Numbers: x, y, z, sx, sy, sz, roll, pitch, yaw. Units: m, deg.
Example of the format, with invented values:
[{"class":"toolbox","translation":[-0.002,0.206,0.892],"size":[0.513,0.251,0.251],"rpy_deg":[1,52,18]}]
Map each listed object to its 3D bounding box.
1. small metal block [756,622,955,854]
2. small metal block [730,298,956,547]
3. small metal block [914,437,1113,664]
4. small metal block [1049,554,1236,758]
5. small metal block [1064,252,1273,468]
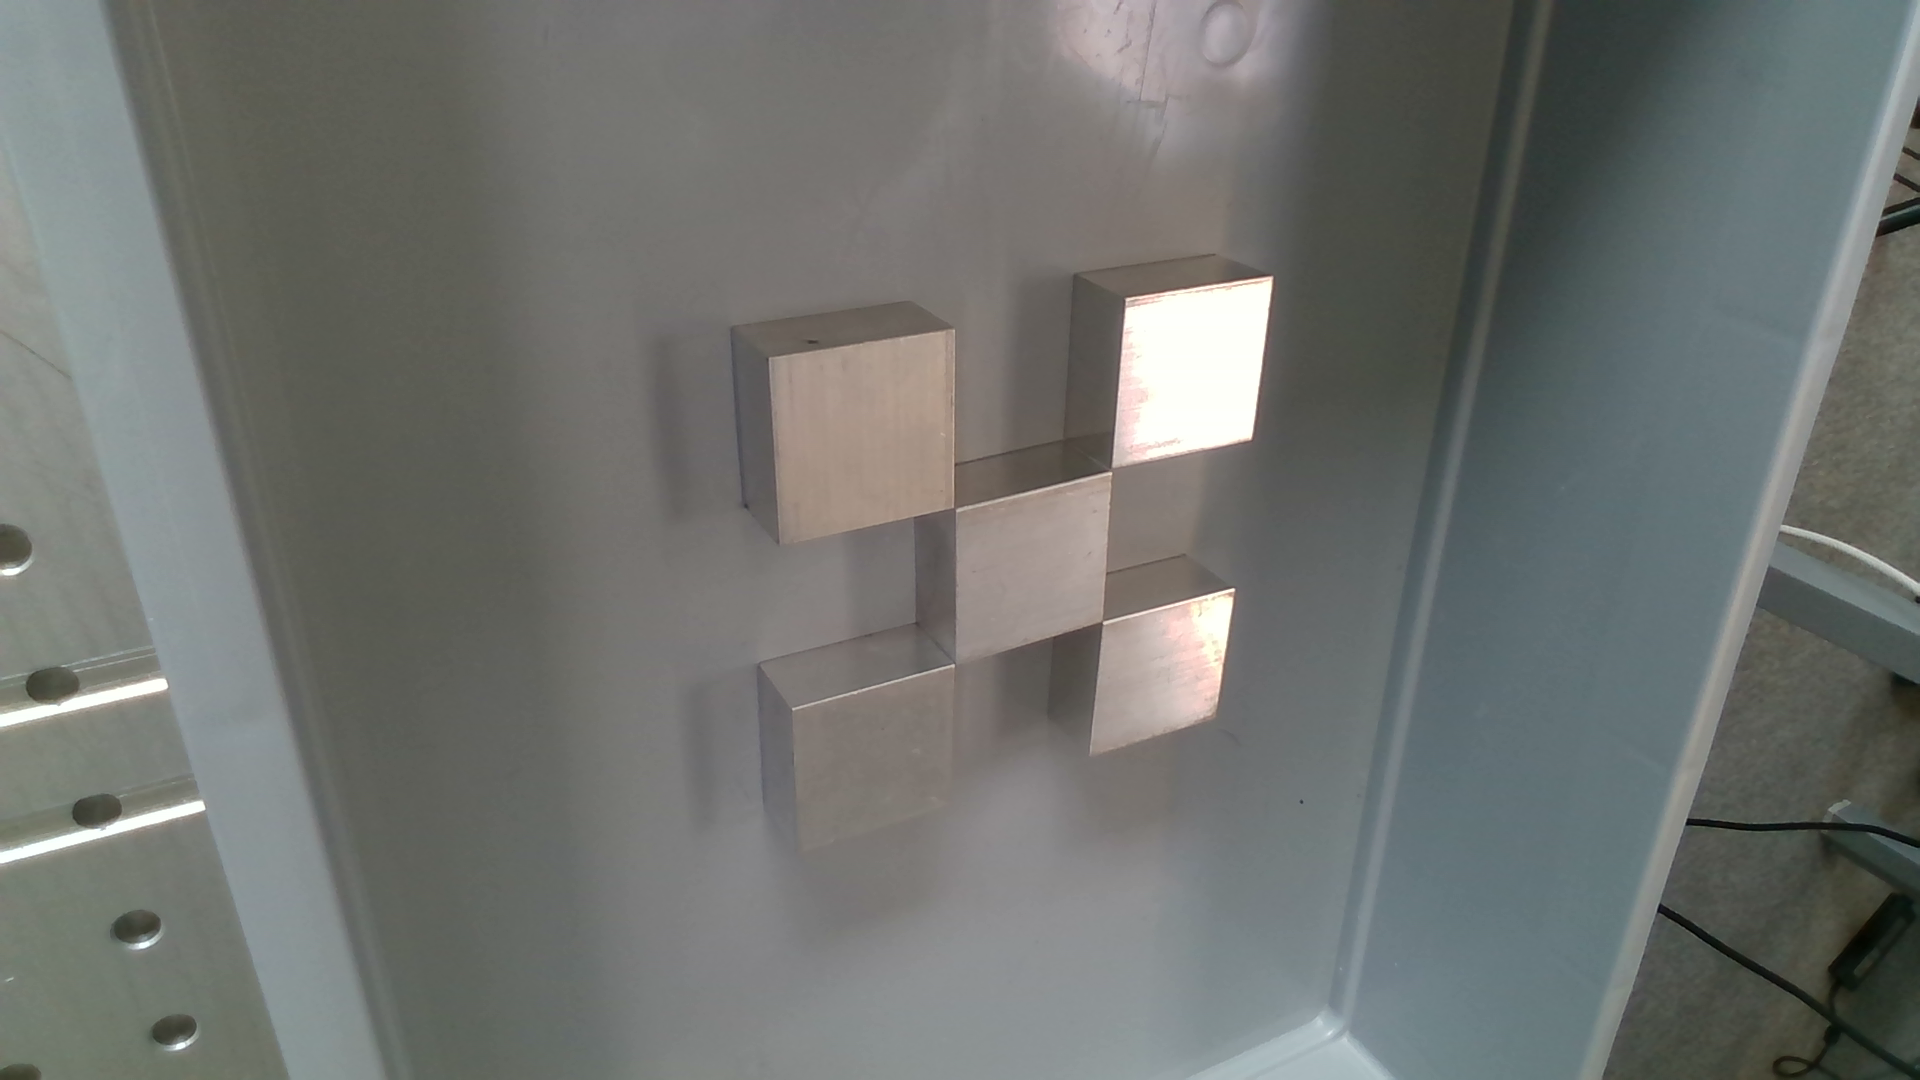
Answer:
[{"class":"small metal block","translation":[-0.030,0.057,0.400],"size":[0.050,0.025,0.050],"rpy_deg":[-13,121,-25]},{"class":"small metal block","translation":[-0.029,-0.031,0.353],"size":[0.050,0.025,0.050],"rpy_deg":[-14,121,-25]},{"class":"small metal block","translation":[0.015,0.002,0.398],"size":[0.050,0.025,0.050],"rpy_deg":[-14,121,-25]},{"class":"small metal block","translation":[0.058,0.036,0.443],"size":[0.050,0.025,0.050],"rpy_deg":[-12,121,-26]},{"class":"small metal block","translation":[0.059,-0.053,0.396],"size":[0.050,0.025,0.050],"rpy_deg":[-13,121,-26]}]
